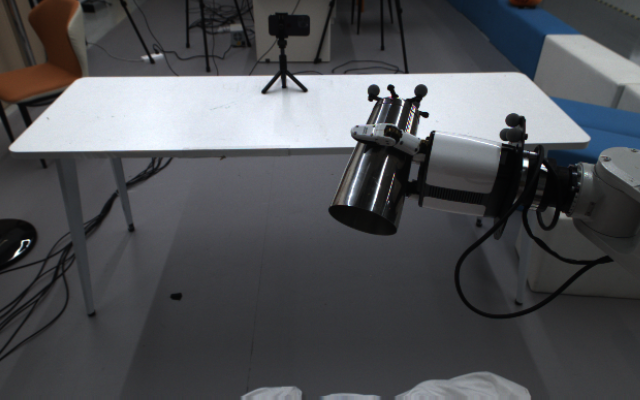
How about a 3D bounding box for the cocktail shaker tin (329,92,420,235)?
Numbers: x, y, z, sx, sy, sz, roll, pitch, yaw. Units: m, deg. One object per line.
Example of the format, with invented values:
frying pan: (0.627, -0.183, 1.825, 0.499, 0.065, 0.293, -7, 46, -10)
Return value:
cocktail shaker tin: (0.080, -0.050, 0.645, 0.093, 0.093, 0.170, 14, 70, 16)
